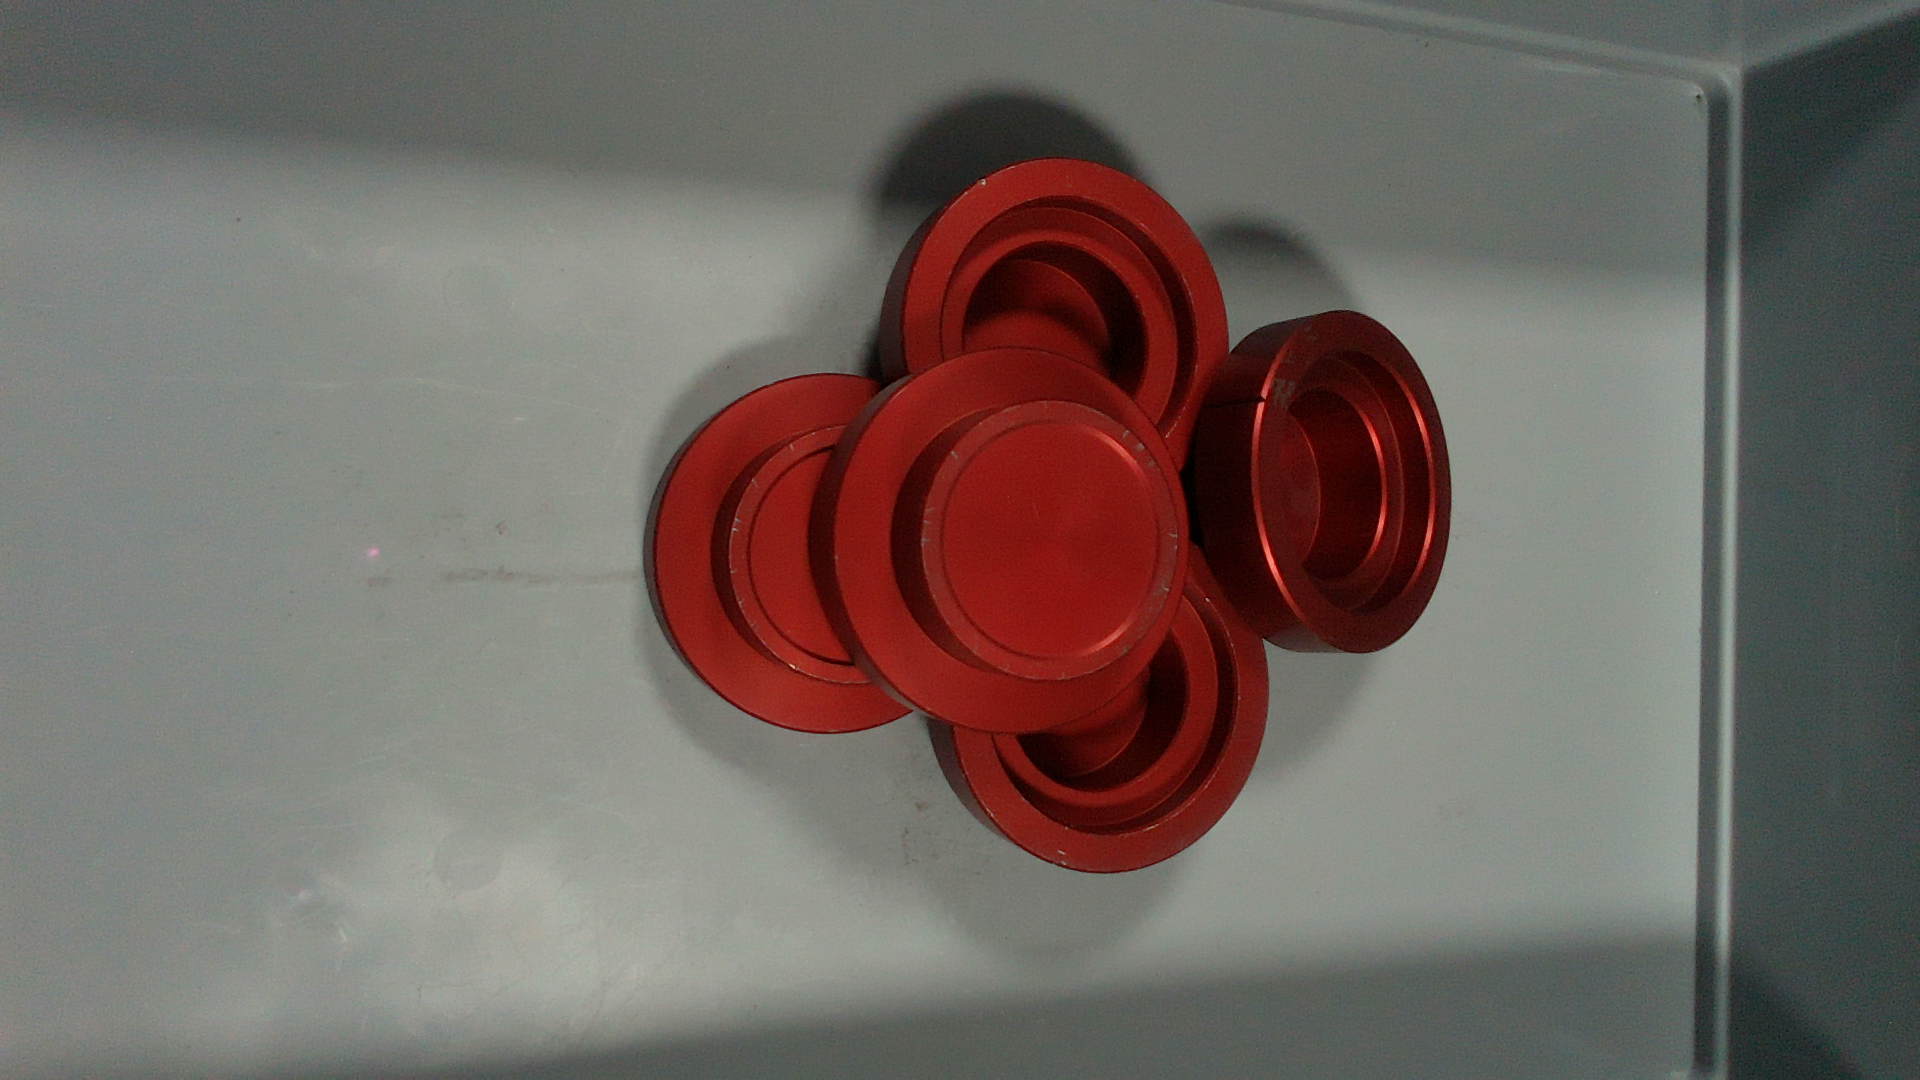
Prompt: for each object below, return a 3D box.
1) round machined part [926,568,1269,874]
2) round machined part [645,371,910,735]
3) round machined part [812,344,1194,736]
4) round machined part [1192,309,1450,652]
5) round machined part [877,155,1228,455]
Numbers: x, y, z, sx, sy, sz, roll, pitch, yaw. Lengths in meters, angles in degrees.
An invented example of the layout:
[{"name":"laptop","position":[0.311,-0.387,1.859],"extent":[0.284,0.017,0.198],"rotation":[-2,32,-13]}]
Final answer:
[{"name":"round machined part","position":[0.036,0.043,0.396],"extent":[0.098,0.042,0.098],"rotation":[0,90,-20]},{"name":"round machined part","position":[-0.033,0.004,0.369],"extent":[0.098,0.042,0.098],"rotation":[0,90,-20]},{"name":"round machined part","position":[0.016,0.000,0.343],"extent":[0.098,0.042,0.098],"rotation":[0,90,-20]},{"name":"round machined part","position":[0.100,-0.016,0.408],"extent":[0.098,0.042,0.098],"rotation":[3,86,-40]},{"name":"round machined part","position":[0.023,-0.055,0.392],"extent":[0.098,0.042,0.098],"rotation":[0,90,-20]}]
